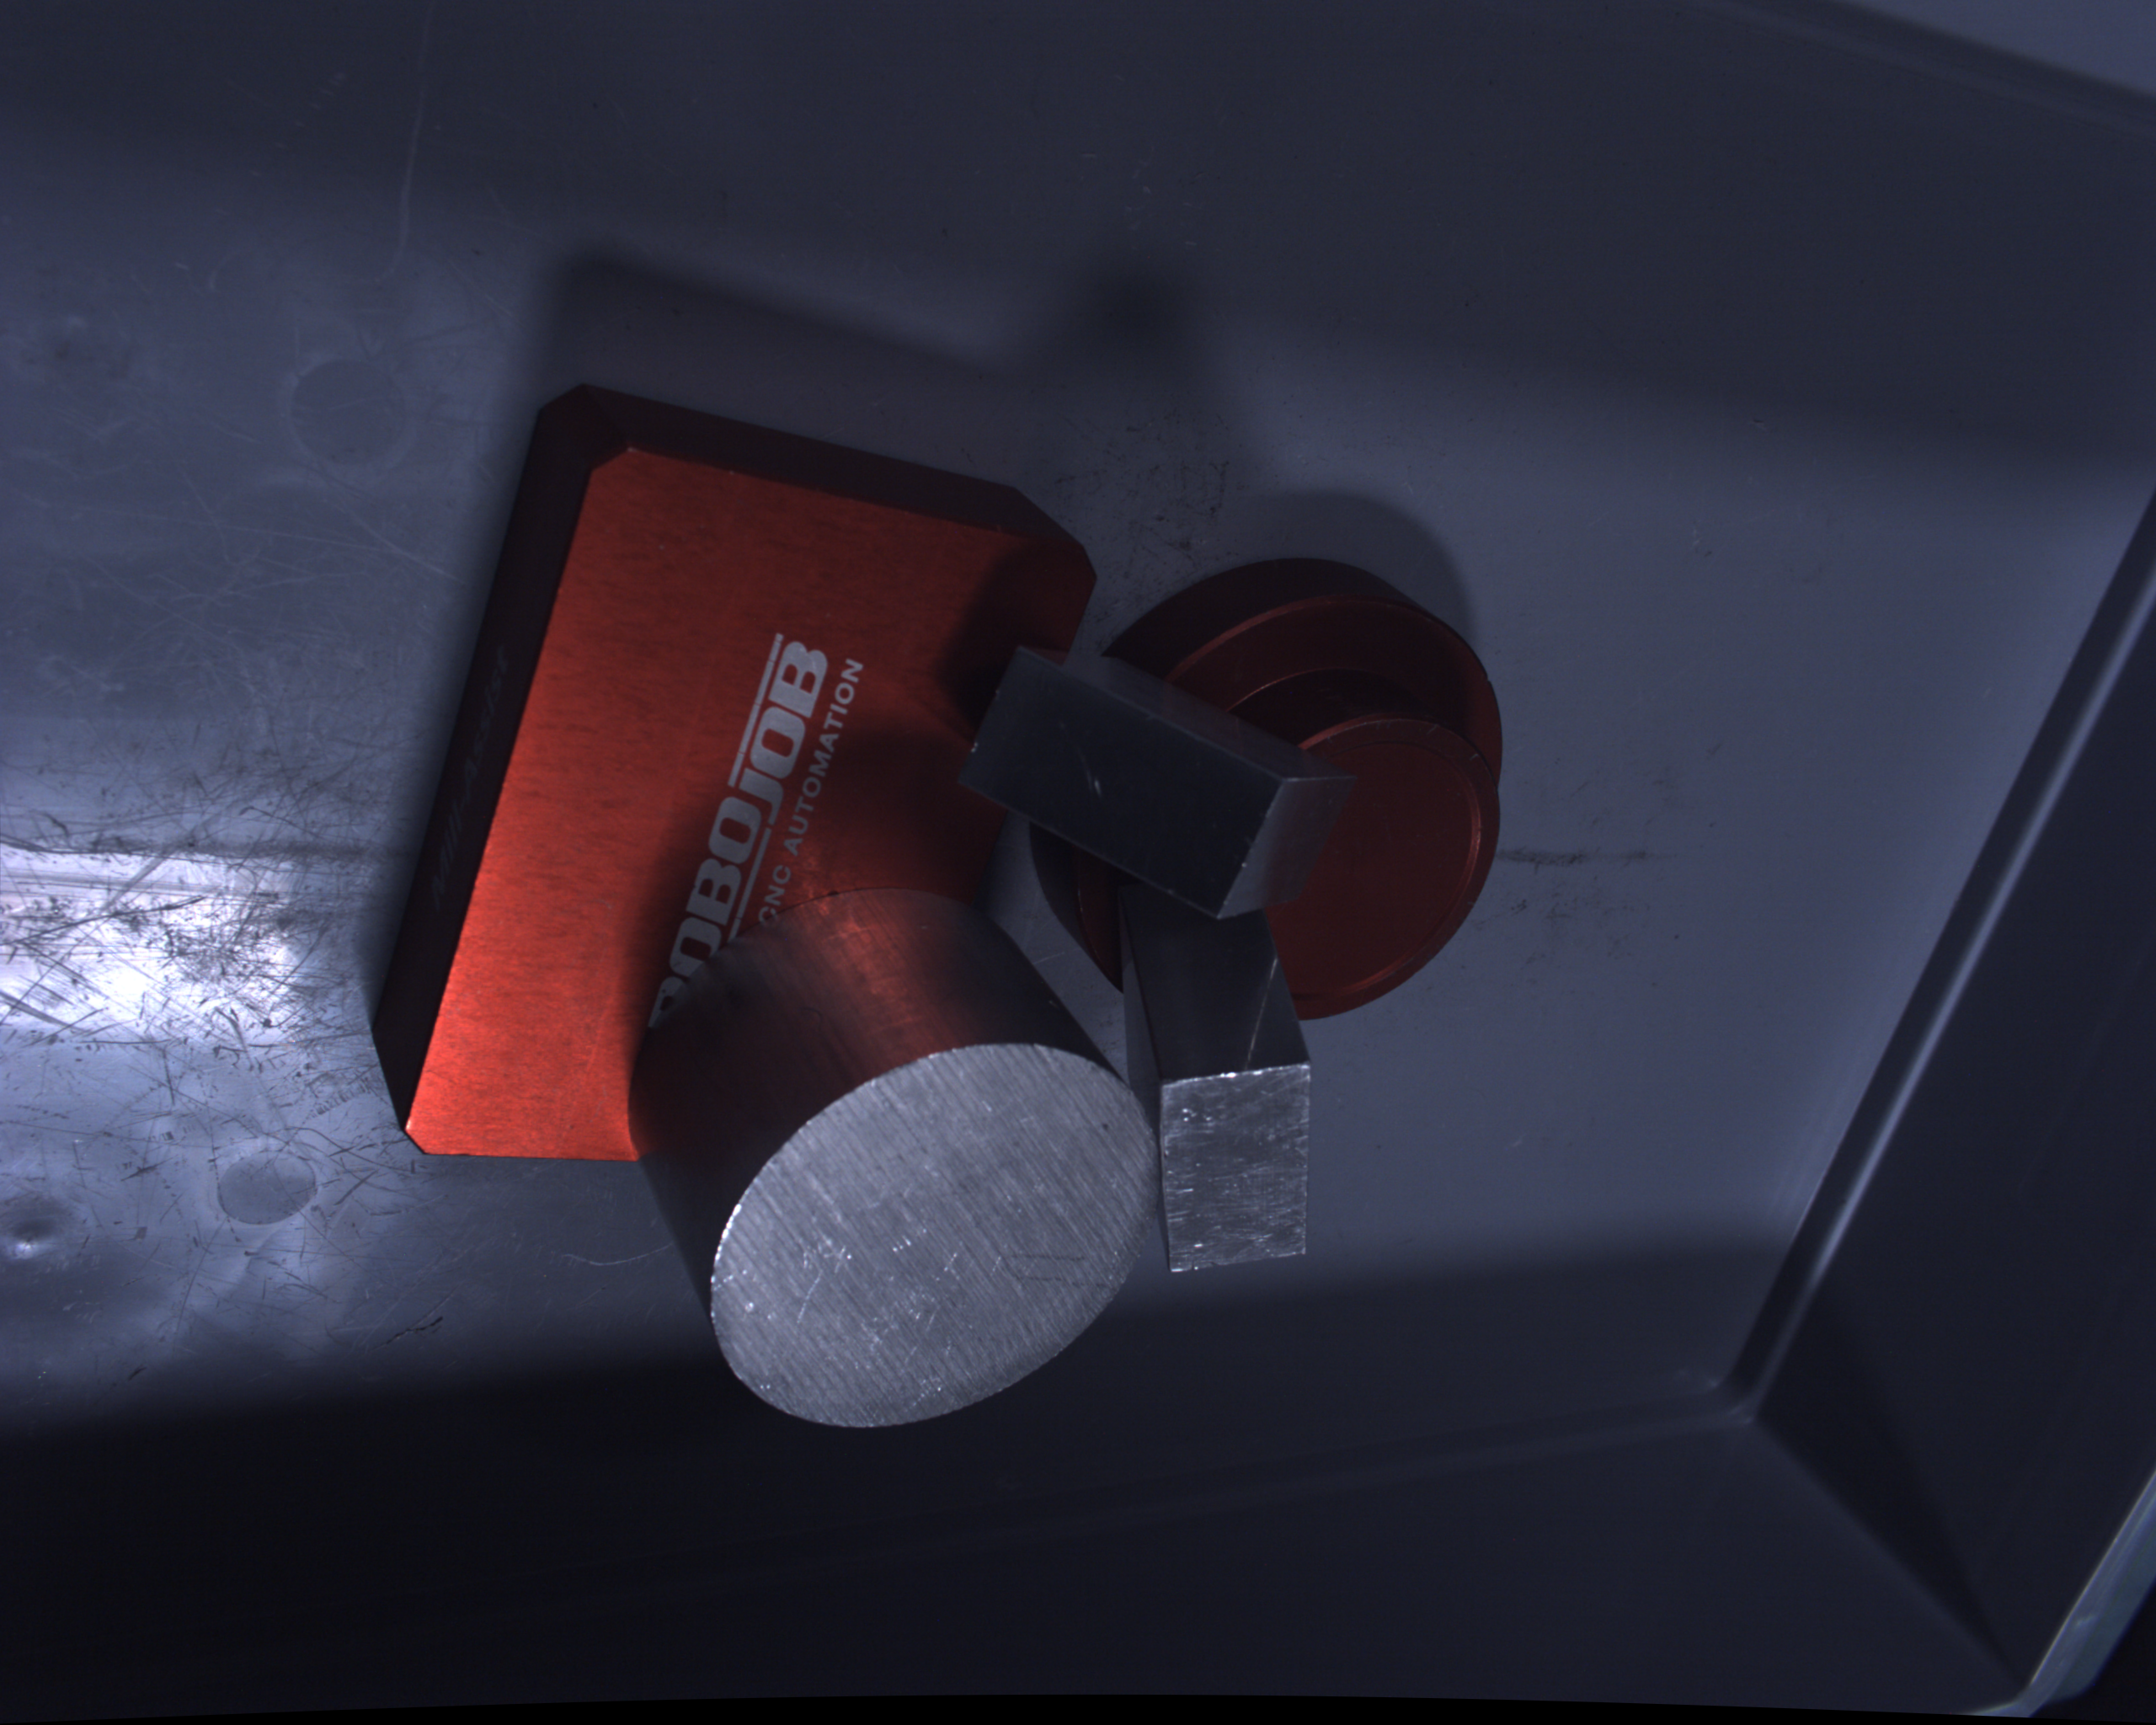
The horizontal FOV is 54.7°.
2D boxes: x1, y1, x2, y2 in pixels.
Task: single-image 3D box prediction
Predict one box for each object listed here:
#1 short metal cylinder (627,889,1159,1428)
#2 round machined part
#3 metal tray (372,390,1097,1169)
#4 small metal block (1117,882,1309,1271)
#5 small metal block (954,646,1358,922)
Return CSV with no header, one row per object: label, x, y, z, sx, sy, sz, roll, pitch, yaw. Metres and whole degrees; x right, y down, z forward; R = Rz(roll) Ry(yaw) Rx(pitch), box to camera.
short metal cylinder,-0.033,0.051,0.367,0.081,0.050,0.079,-14,125,-21
round machined part,0.044,-0.008,0.416,0.099,0.042,0.097,-14,125,-21
metal tray,-0.061,-0.007,0.364,0.091,0.030,0.129,8,114,-32
small metal block,0.024,0.037,0.378,0.025,0.050,0.050,-7,130,-3
small metal block,0.015,-0.014,0.358,0.025,0.050,0.050,-65,163,12
